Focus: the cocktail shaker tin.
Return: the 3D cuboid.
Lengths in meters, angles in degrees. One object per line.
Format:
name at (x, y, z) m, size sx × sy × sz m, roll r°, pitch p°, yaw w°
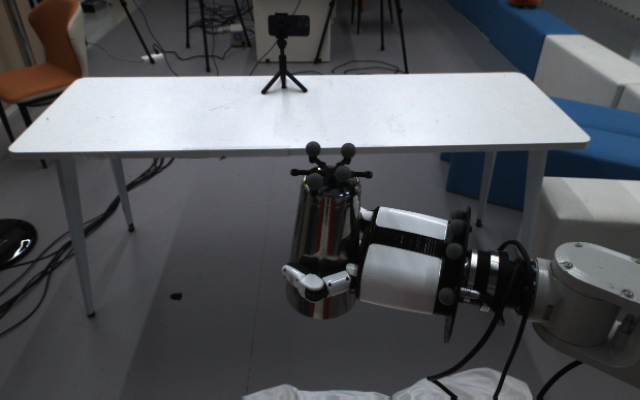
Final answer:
cocktail shaker tin at (0.010, 0.048, 0.576) m, size 0.093 × 0.170 × 0.093 m, roll 3°, pitch 34°, yaw -2°
